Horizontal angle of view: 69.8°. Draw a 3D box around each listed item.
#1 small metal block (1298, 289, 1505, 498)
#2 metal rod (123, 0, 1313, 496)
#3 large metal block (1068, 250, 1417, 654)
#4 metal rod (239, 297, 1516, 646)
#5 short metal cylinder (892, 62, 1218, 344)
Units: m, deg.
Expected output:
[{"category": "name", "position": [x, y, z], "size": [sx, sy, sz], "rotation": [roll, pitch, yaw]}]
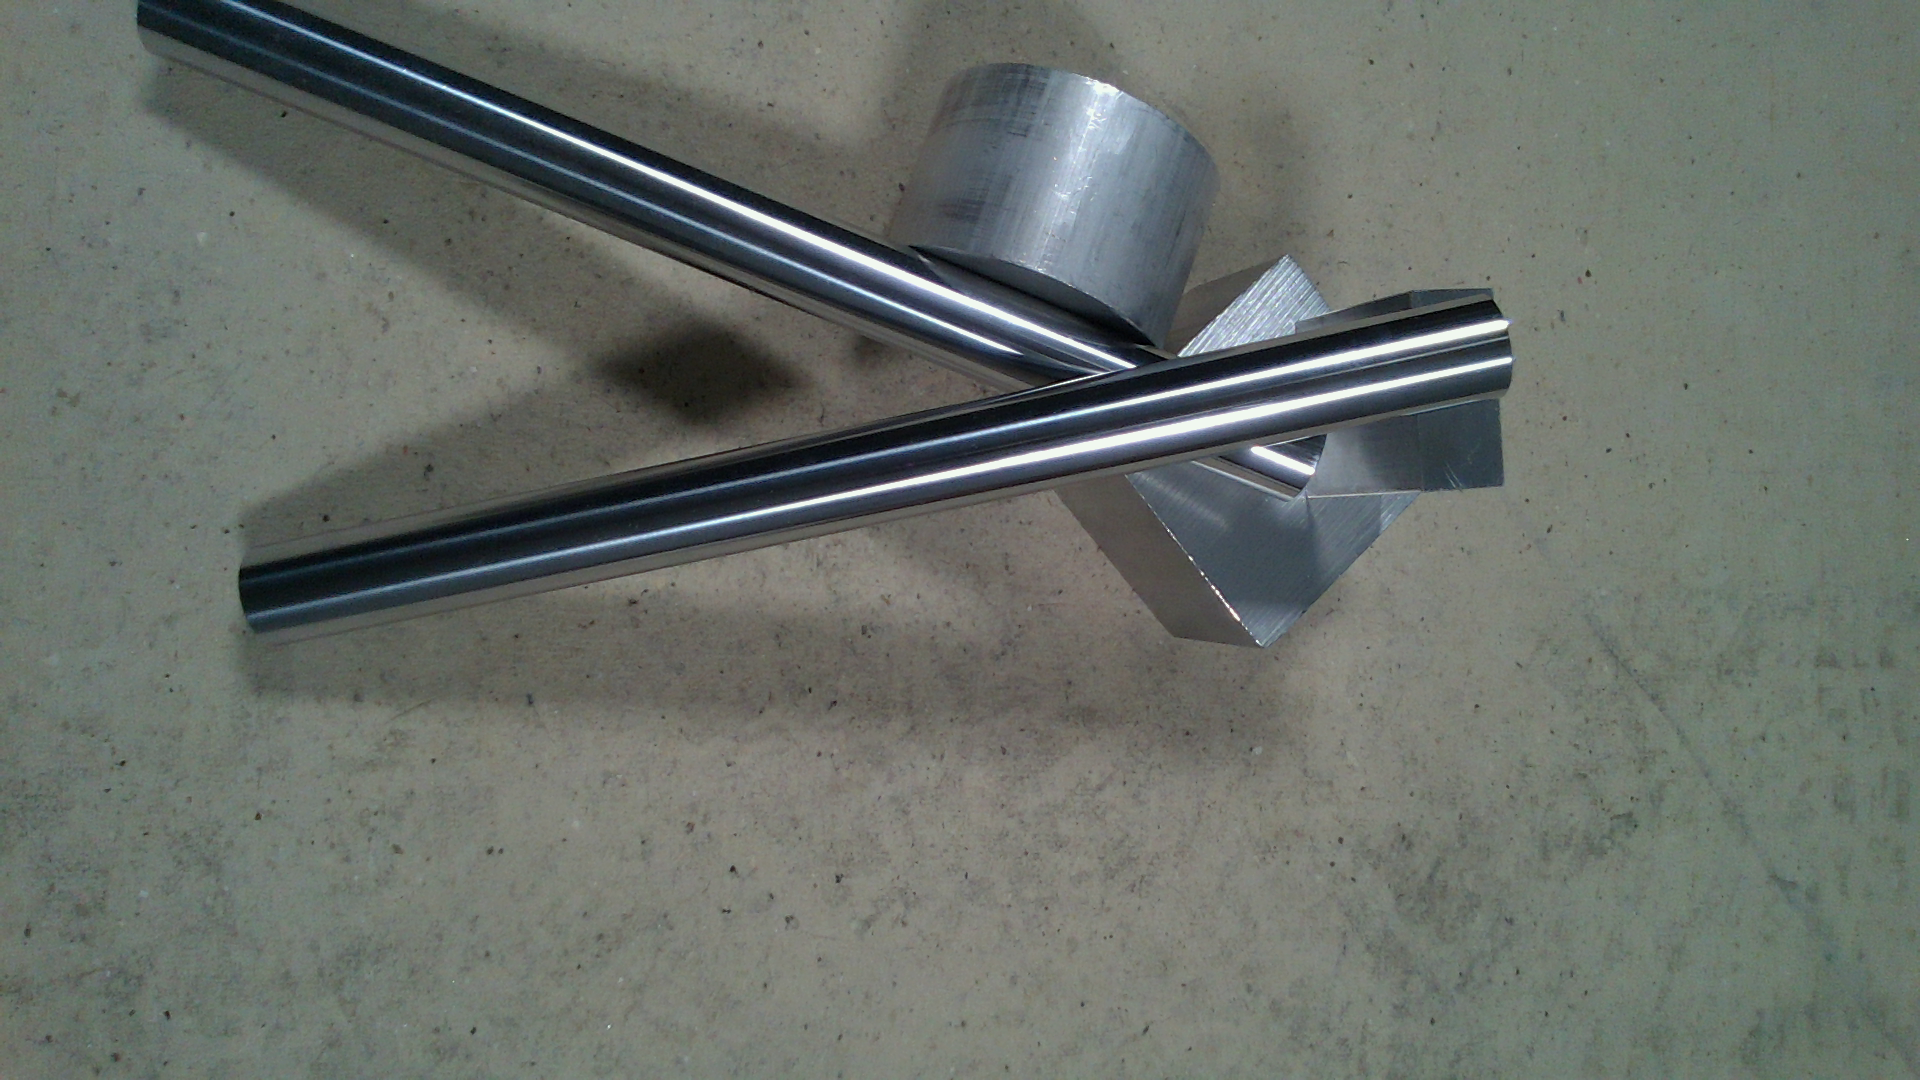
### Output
[{"category": "small metal block", "position": [0.116, -0.038, 0.366], "size": [0.025, 0.050, 0.050], "rotation": [-5, 92, -19]}, {"category": "metal rod", "position": [-0.051, -0.076, 0.344], "size": [0.300, 0.025, 0.025], "rotation": [21, 83, -7]}, {"category": "large metal block", "position": [0.081, -0.025, 0.408], "size": [0.080, 0.050, 0.080], "rotation": [-43, 103, -14]}, {"category": "metal rod", "position": [-0.020, -0.016, 0.330], "size": [0.300, 0.025, 0.025], "rotation": [-11, 94, 1]}, {"category": "short metal cylinder", "position": [0.024, -0.085, 0.374], "size": [0.080, 0.080, 0.050], "rotation": [22, 83, -19]}]
